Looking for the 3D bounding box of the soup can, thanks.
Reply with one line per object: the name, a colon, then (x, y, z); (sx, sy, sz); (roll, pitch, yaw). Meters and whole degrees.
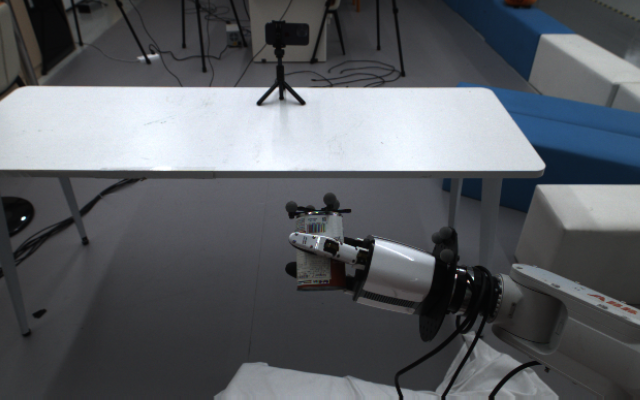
soup can: (0.003, 0.071, 0.659); (0.067, 0.067, 0.101); (-2, 76, -6)
